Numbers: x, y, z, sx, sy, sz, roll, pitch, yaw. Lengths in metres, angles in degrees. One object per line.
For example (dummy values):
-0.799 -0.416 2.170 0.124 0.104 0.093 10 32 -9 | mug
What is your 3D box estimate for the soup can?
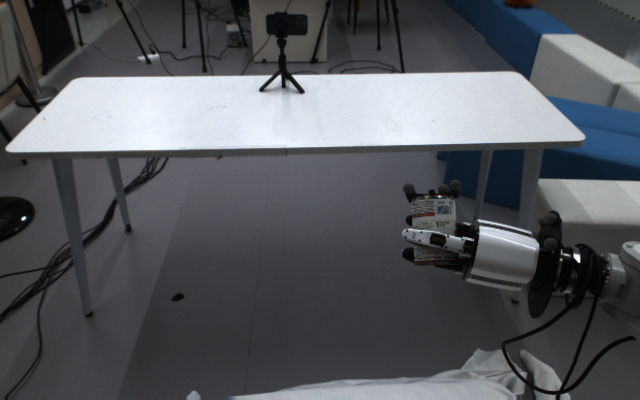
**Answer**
0.176 0.048 0.738 0.067 0.101 0.067 -1 -9 0 | soup can
